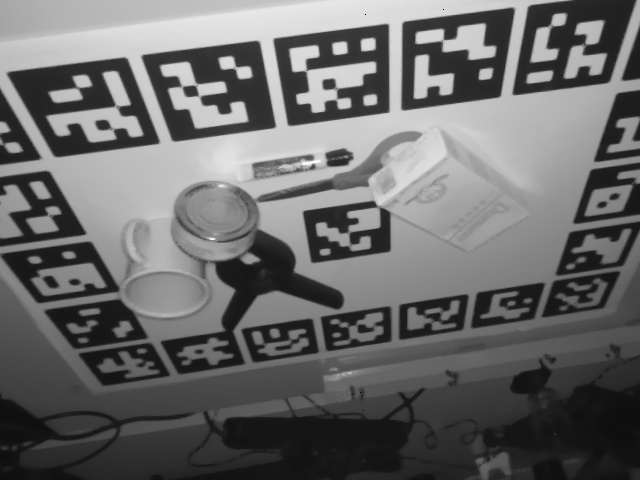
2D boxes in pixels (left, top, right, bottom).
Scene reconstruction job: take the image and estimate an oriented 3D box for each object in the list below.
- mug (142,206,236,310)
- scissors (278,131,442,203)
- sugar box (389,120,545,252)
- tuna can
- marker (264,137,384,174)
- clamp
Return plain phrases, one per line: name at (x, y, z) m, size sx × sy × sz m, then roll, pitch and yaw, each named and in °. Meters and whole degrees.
mug at (-0.147, 0.011, 0.748) m, size 0.092 × 0.082 × 0.118 m, roll -26°, pitch 139°, yaw 19°
scissors at (0.053, -0.063, 0.738) m, size 0.202 × 0.016 × 0.087 m, roll -13°, pitch 142°, yaw 7°
sugar box at (0.163, -0.049, 0.748) m, size 0.091 × 0.045 × 0.178 m, roll -33°, pitch 139°, yaw 26°
tuna can at (-0.091, -0.027, 0.707) m, size 0.086 × 0.086 × 0.033 m, roll 5°, pitch 137°, yaw -14°
marker at (0.005, -0.086, 0.708) m, size 0.121 × 0.020 × 0.019 m, roll -10°, pitch 137°, yaw 0°
clamp at (-0.052, 0.038, 0.839) m, size 0.165 × 0.037 × 0.202 m, roll -14°, pitch 137°, yaw 7°
